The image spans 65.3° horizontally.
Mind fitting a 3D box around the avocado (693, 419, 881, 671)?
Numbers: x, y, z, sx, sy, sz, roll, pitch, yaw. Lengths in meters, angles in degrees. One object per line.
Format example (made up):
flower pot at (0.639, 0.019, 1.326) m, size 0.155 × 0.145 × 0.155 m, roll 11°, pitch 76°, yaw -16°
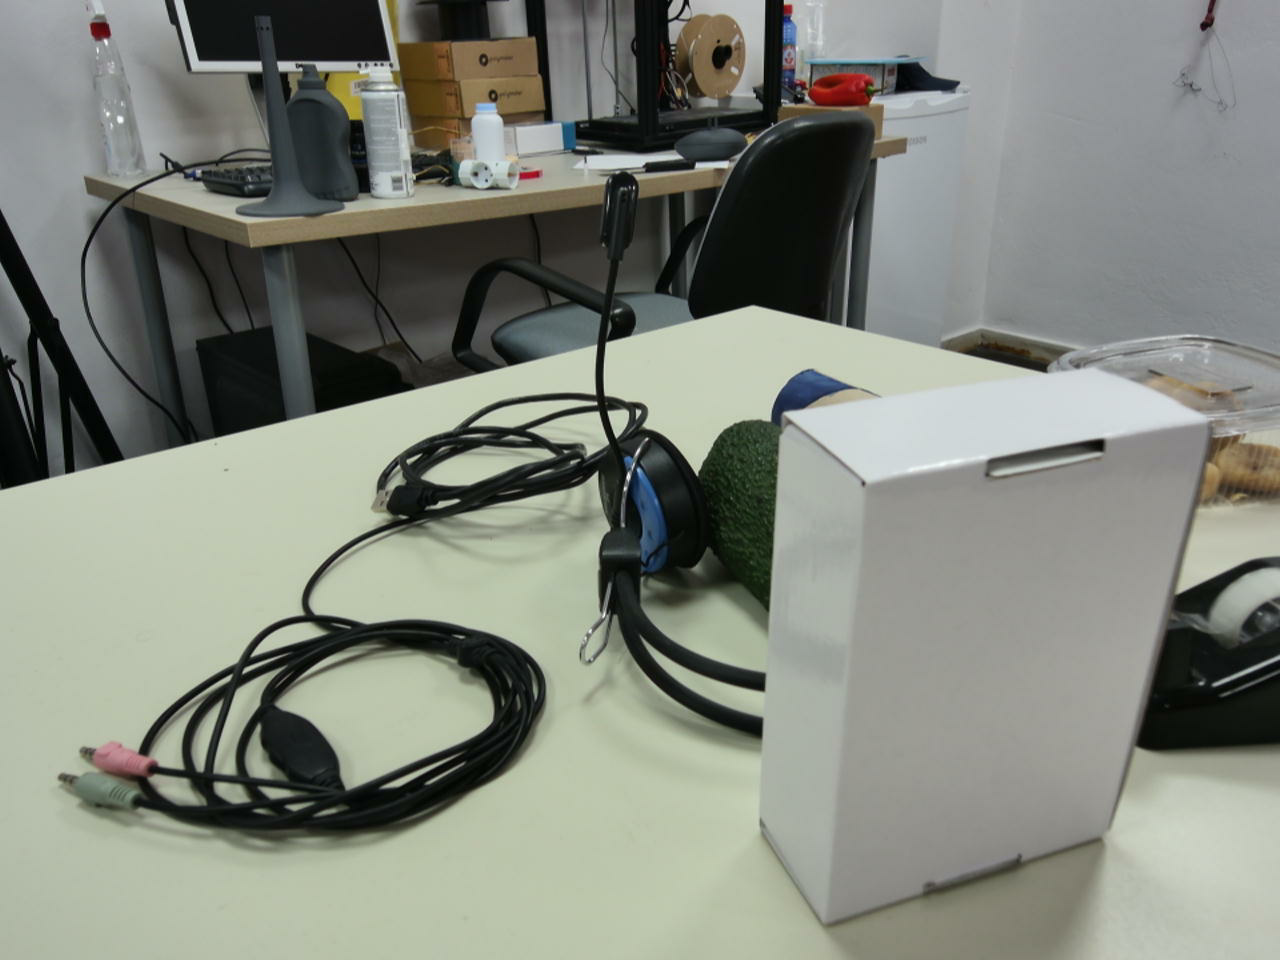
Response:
avocado at (0.067, 0.019, 0.424) m, size 0.063 × 0.067 × 0.141 m, roll -10°, pitch 23°, yaw -22°
